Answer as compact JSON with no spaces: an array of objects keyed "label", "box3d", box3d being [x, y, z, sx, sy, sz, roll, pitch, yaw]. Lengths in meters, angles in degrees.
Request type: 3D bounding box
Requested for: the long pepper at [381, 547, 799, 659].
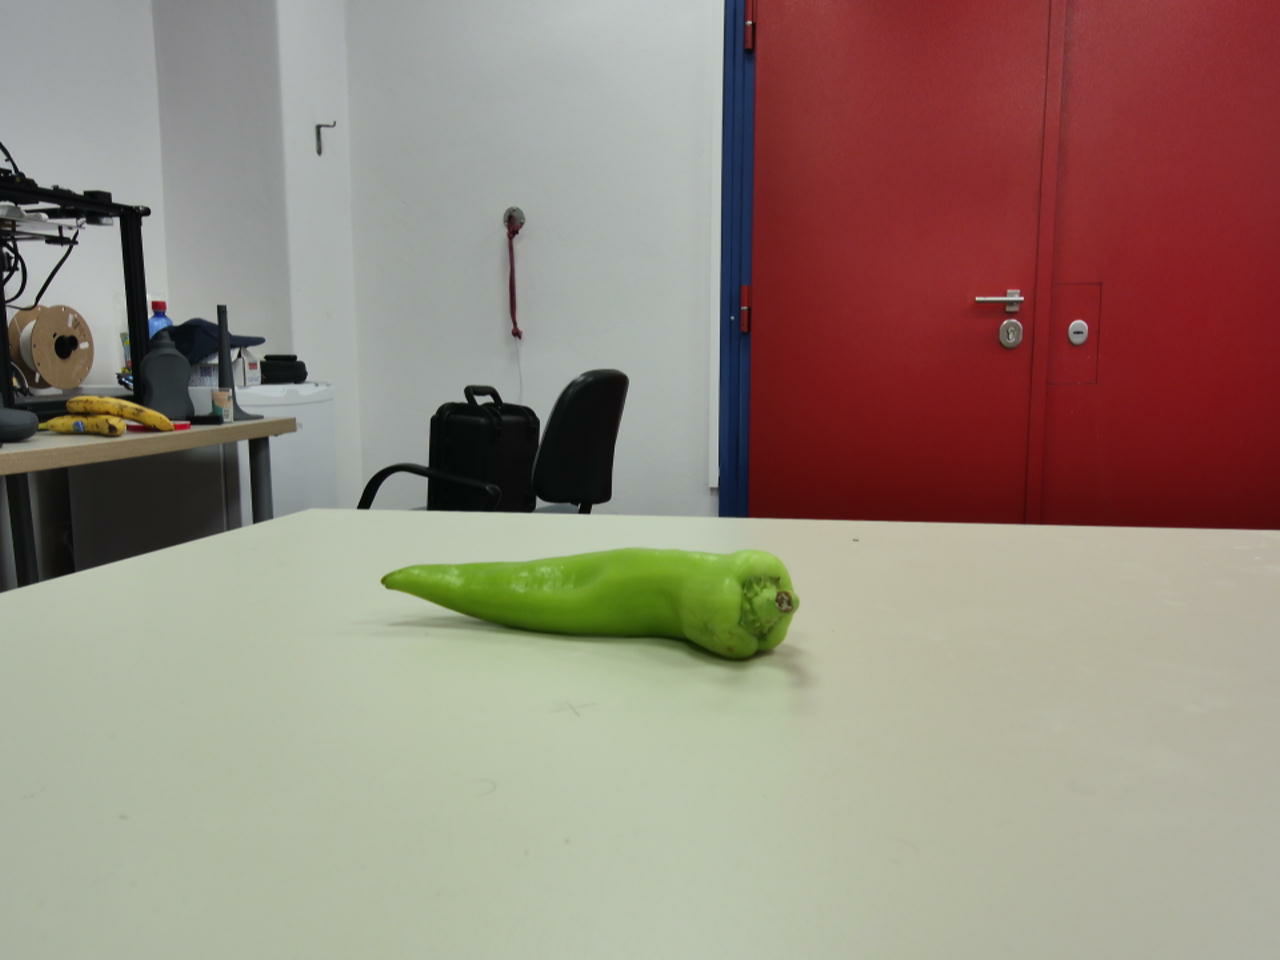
[{"label":"long pepper","box3d":[-0.018,0.050,0.451,0.205,0.045,0.065,2,4,28]}]
